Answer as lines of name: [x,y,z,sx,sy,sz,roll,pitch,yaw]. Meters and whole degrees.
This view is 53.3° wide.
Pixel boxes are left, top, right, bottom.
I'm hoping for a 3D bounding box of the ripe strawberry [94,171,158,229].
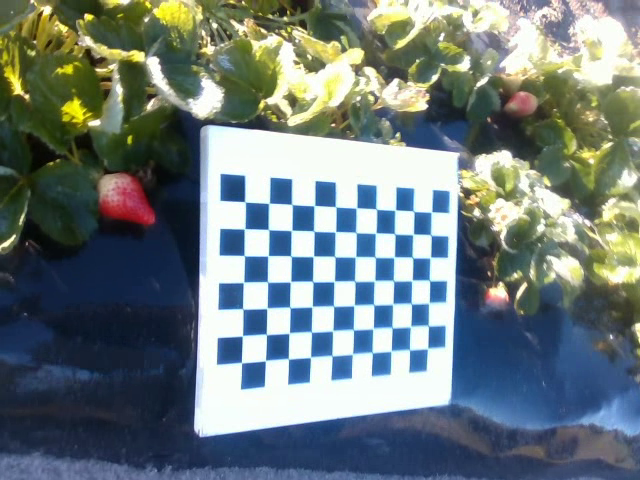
ripe strawberry: [-0.176,-0.029,0.569,0.065,0.040,0.040,46,-23,-22]
